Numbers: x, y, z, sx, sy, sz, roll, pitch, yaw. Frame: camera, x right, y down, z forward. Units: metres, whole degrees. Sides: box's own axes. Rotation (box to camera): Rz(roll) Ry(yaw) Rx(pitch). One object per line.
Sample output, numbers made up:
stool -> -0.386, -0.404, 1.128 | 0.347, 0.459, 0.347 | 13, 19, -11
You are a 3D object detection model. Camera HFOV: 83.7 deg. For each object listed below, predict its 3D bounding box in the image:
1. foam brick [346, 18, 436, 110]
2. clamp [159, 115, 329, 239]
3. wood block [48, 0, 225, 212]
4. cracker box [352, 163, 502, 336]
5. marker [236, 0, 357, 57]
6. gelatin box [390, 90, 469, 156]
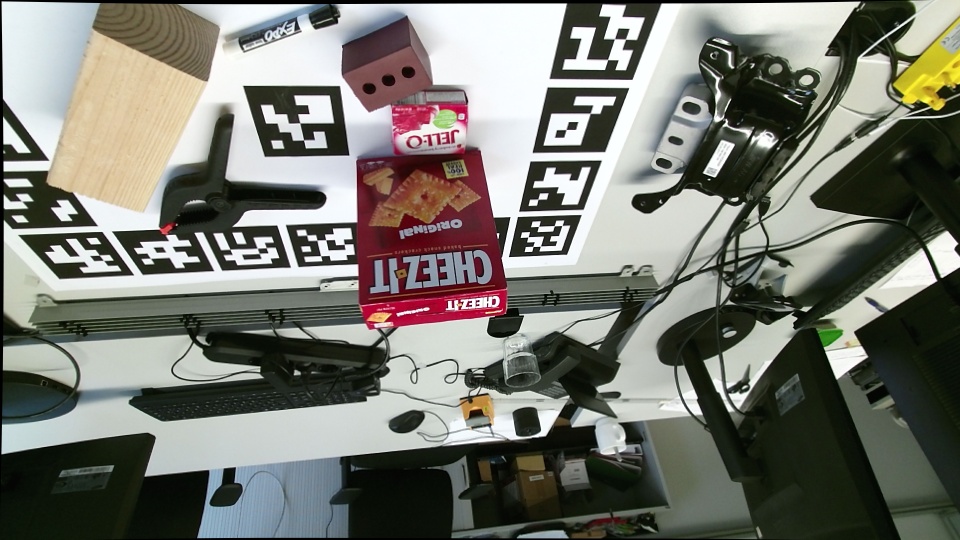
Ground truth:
foam brick -> -0.091, -0.211, 0.554 | 0.078, 0.051, 0.053 | -19, 140, 10
clamp -> -0.320, -0.089, 0.667 | 0.203, 0.036, 0.166 | -23, 140, 15
wood block -> -0.341, -0.163, 0.530 | 0.090, 0.090, 0.206 | 21, 135, -37
cracker box -> -0.069, -0.033, 0.647 | 0.165, 0.212, 0.072 | -4, 143, -5
marker -> -0.178, -0.237, 0.525 | 0.121, 0.019, 0.020 | -16, 140, 6
gelatin box -> -0.060, -0.172, 0.632 | 0.090, 0.030, 0.073 | -4, 140, -9
